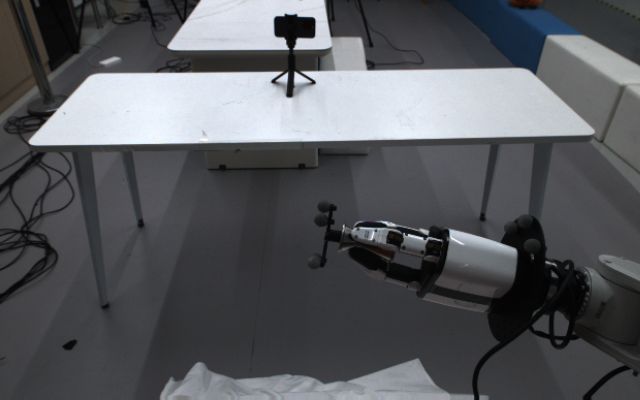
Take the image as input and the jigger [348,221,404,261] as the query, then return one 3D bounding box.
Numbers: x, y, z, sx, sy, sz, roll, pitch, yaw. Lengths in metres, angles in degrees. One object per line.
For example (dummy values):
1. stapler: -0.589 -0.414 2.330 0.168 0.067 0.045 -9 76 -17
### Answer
1. jigger: 0.066 0.050 0.609 0.071 0.043 0.043 10 35 2
